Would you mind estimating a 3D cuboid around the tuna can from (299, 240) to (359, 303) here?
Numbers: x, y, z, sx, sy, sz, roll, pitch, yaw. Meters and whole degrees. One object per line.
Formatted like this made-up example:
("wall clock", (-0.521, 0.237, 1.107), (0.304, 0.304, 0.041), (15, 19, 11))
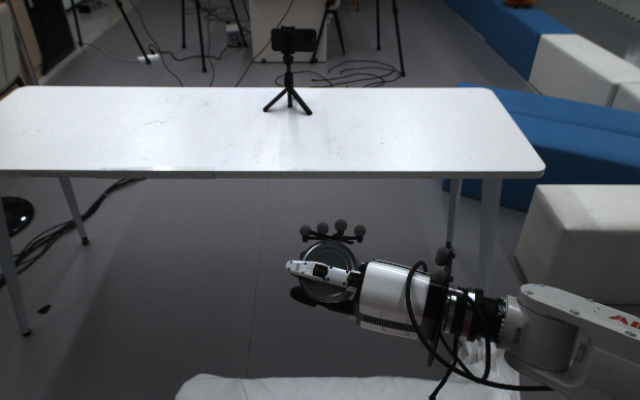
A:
("tuna can", (0.015, 0.100, 0.675), (0.085, 0.034, 0.085), (-4, 73, 14))
